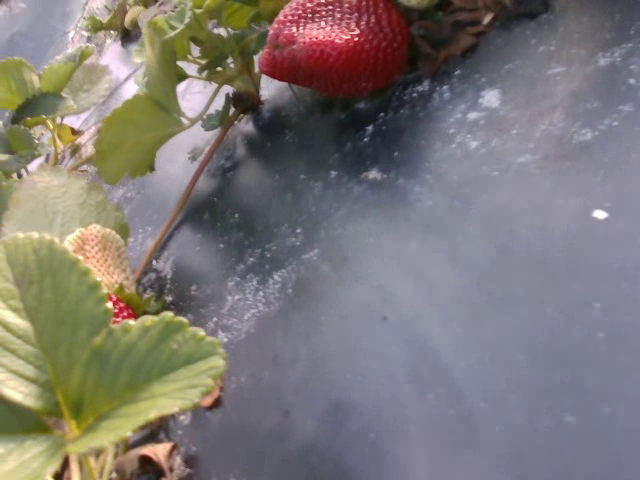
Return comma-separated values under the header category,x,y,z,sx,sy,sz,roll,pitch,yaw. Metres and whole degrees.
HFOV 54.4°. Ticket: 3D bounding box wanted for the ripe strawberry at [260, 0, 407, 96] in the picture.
category,x,y,z,sx,sy,sz,roll,pitch,yaw
ripe strawberry,0.005,-0.079,0.251,0.070,0.057,0.058,-22,55,-37
